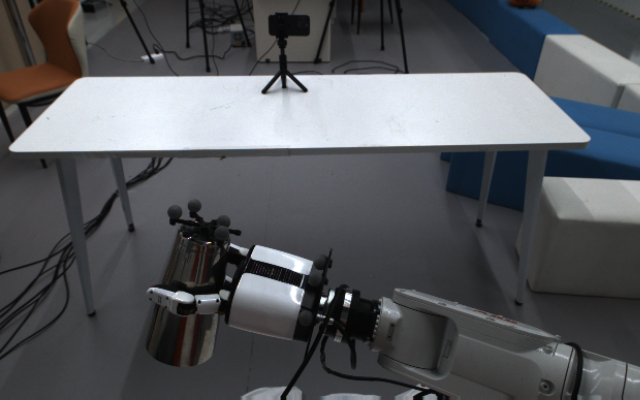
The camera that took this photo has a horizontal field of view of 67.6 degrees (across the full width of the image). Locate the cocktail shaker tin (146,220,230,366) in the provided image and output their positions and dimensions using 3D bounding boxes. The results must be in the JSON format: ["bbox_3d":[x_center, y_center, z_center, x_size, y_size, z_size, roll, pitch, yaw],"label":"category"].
[{"bbox_3d":[-0.167,0.118,0.630,0.093,0.170,0.093,15,18,-5],"label":"cocktail shaker tin"}]
